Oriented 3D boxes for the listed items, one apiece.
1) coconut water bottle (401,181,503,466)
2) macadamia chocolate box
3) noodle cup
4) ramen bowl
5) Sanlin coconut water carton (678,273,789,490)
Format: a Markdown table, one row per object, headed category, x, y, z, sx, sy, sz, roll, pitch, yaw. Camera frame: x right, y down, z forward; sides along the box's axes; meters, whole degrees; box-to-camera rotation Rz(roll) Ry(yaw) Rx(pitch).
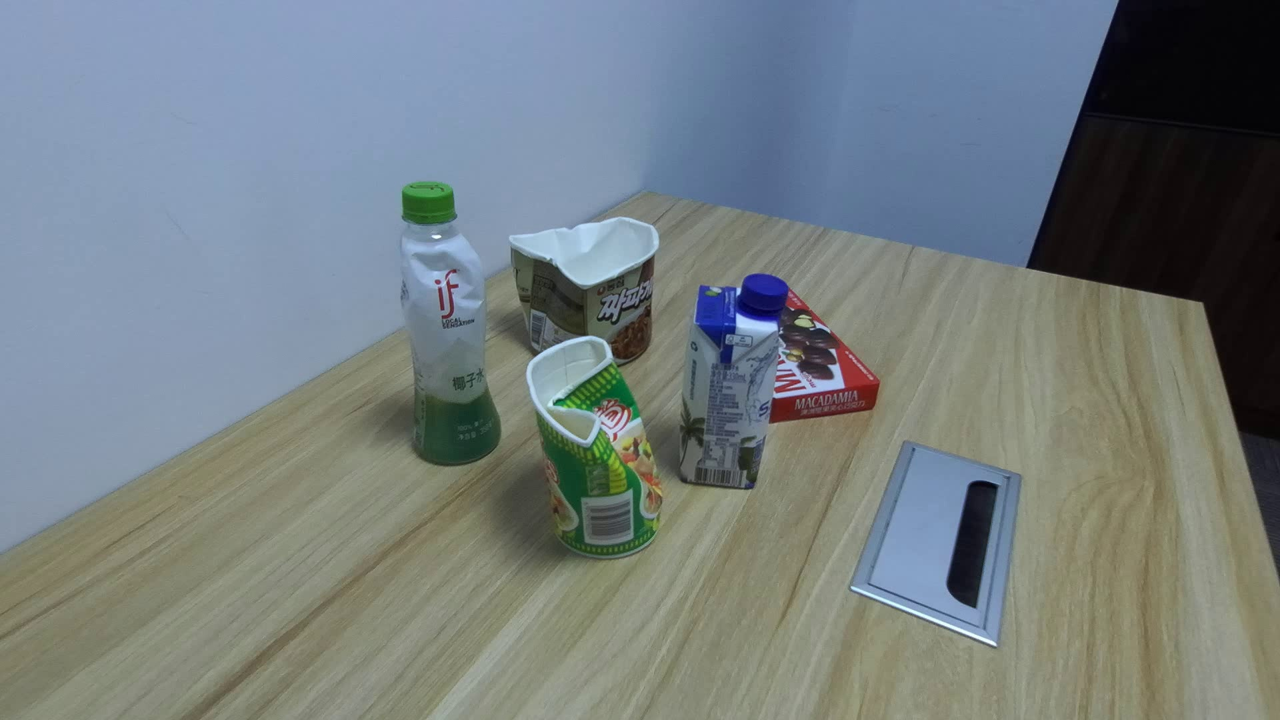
| category | x | y | z | sx | sy | sz | roll | pitch | yaw |
| --- | --- | --- | --- | --- | --- | --- | --- | --- | --- |
| coconut water bottle | -0.131 | -0.022 | 0.474 | 0.067 | 0.187 | 0.067 | 2 | 29 | -1 |
| macadamia chocolate box | 0.121 | -0.012 | 0.617 | 0.096 | 0.027 | 0.177 | -8 | 34 | -13 |
| noodle cup | -0.023 | 0.055 | 0.425 | 0.075 | 0.122 | 0.083 | 15 | 44 | 34 |
| ramen bowl | -0.037 | -0.064 | 0.627 | 0.113 | 0.097 | 0.134 | 27 | 40 | 35 |
| Sanlin coconut water carton | 0.058 | 0.013 | 0.462 | 0.061 | 0.144 | 0.060 | 4 | 33 | 4 |
